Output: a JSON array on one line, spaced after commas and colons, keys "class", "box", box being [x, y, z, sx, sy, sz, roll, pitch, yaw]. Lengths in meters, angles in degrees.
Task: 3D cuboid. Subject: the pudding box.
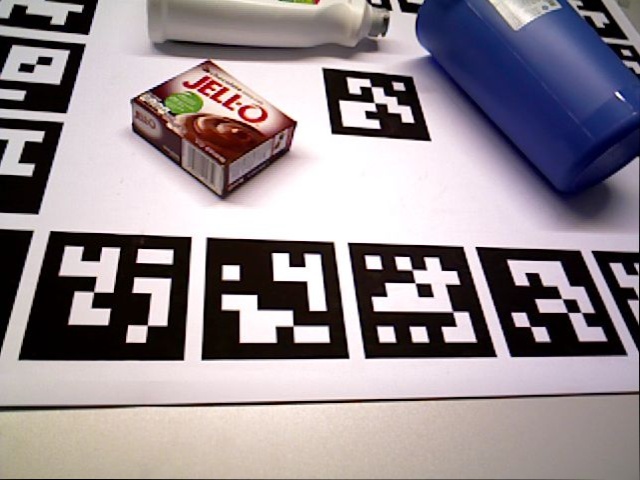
[{"class": "pudding box", "box": [-0.092, -0.096, 0.460, 0.114, 0.039, 0.088, 41, 51, 14]}]

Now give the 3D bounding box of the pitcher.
[{"class": "pitcher", "box": [0.218, -0.150, 0.538, 0.186, 0.136, 0.241, 4, 52, -54]}]

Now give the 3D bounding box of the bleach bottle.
[{"class": "bleach bottle", "box": [-0.047, -0.239, 0.561, 0.248, 0.069, 0.101, 1, 60, -14]}]
